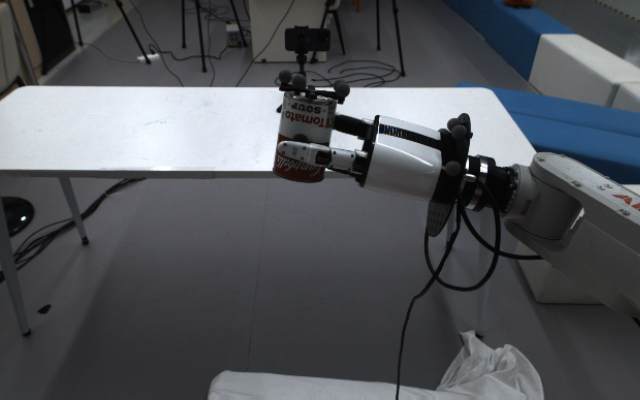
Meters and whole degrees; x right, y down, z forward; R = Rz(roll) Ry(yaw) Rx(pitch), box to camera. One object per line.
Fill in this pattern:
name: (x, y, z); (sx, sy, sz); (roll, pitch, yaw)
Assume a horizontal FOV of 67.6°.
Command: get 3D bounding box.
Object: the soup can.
soup can: (-0.018, -0.081, 0.607); (0.067, 0.101, 0.067); (9, 20, -3)
